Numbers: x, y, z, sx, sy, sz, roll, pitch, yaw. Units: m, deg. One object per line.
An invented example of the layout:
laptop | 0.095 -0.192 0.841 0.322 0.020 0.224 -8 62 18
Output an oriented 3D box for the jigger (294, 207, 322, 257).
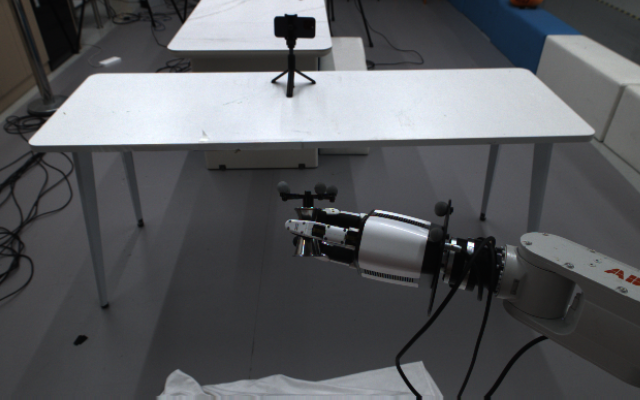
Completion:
jigger | -0.018 0.045 0.684 0.043 0.071 0.043 1 -5 0
